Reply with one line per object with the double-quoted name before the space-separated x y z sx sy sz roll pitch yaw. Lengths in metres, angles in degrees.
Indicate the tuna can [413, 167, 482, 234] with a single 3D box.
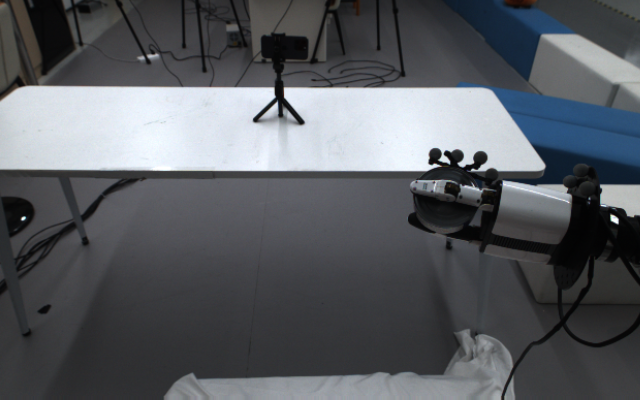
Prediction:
"tuna can" 0.169 -0.004 0.645 0.085 0.034 0.085 -4 66 10
